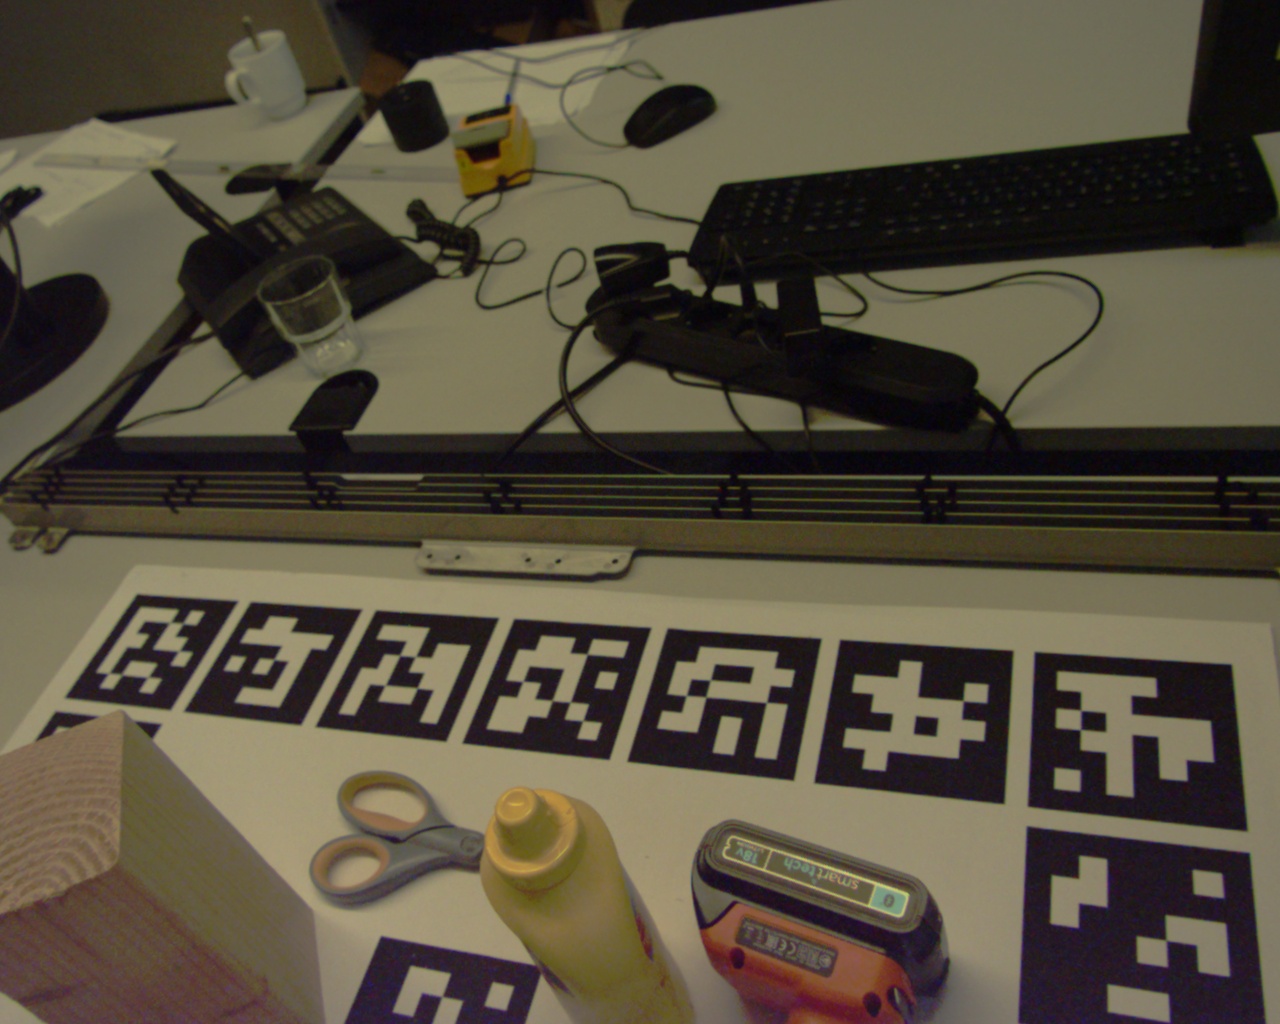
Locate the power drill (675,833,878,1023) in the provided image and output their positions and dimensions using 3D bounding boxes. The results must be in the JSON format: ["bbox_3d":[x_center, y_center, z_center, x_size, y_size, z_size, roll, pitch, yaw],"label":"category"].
[{"bbox_3d":[0.021,0.255,0.540,0.187,0.057,0.186,11,59,29],"label":"power drill"}]

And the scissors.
[{"bbox_3d":[-0.124,0.185,0.692,0.205,0.016,0.087,2,44,22],"label":"scissors"}]

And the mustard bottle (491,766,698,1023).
[{"bbox_3d":[-0.026,0.178,0.549,0.058,0.190,0.097,-29,45,-8],"label":"mustard bottle"}]

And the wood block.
[{"bbox_3d":[-0.243,0.201,0.600,0.091,0.204,0.090,-21,45,0],"label":"wood block"}]
